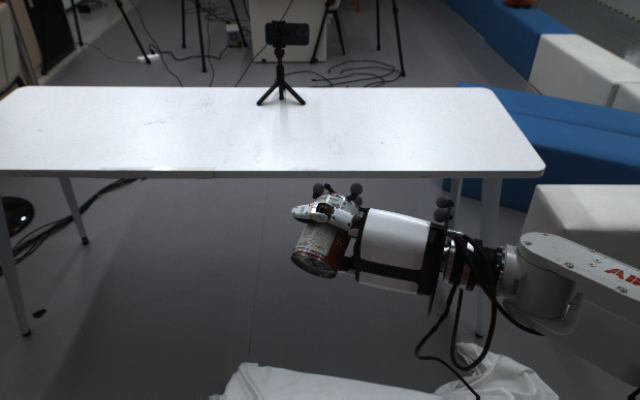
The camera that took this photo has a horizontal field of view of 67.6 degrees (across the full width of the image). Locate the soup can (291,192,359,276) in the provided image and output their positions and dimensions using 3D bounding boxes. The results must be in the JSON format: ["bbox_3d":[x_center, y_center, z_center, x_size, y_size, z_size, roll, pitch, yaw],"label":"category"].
[{"bbox_3d":[0.010,0.048,0.675,0.067,0.067,0.101,15,62,18],"label":"soup can"}]
